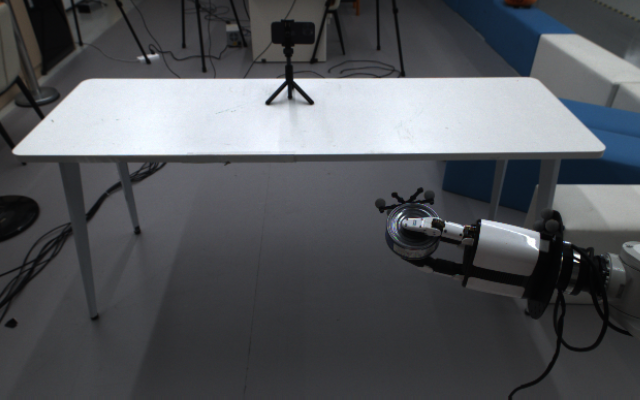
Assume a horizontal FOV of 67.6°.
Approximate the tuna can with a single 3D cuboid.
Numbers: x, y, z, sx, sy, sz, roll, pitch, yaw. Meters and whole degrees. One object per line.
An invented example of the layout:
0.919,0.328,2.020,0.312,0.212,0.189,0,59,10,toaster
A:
0.147,0.046,0.749,0.085,0.034,0.085,-3,59,5,tuna can
